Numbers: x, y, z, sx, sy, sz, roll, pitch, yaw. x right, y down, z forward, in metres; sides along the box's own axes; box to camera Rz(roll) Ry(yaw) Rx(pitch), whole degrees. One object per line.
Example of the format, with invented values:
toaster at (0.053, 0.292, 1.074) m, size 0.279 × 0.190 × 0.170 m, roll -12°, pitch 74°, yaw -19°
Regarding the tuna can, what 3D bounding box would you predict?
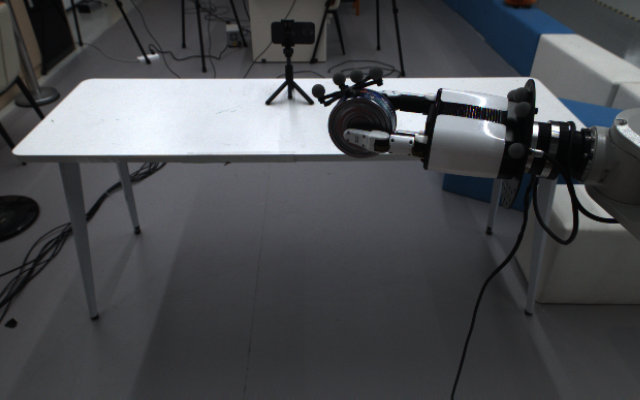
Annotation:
tuna can at (0.058, -0.092, 0.626) m, size 0.085 × 0.085 × 0.034 m, roll 11°, pitch 34°, yaw 13°
